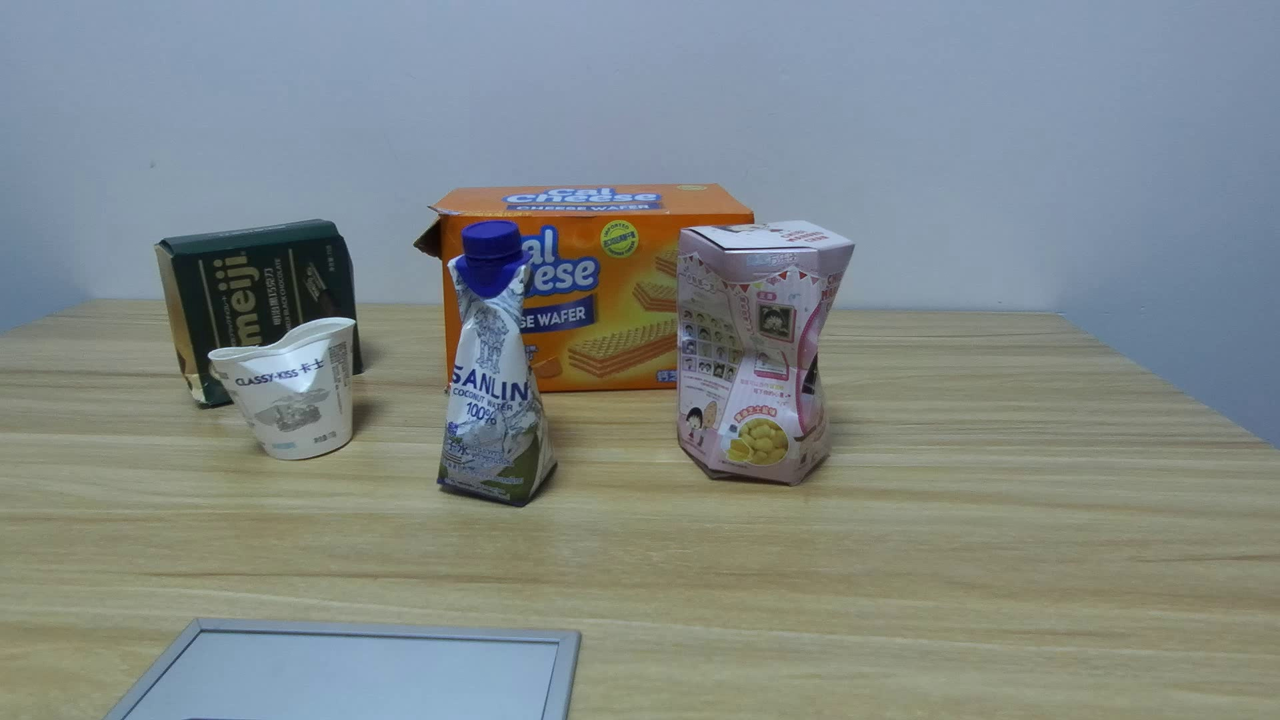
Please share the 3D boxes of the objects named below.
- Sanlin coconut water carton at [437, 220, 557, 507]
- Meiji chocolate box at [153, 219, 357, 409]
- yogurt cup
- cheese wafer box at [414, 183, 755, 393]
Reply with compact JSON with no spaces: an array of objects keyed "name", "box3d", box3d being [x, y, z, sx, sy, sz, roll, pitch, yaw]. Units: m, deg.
[{"name":"Sanlin coconut water carton","box3d":[-0.069,0.000,0.382,0.056,0.144,0.068,11,14,12]},{"name":"Meiji chocolate box","box3d":[-0.267,-0.037,0.505,0.123,0.116,0.058,-16,28,-36]},{"name":"yogurt cup","box3d":[-0.206,0.017,0.423,0.053,0.071,0.075,4,23,10]},{"name":"cheese wafer box","box3d":[-0.037,-0.064,0.548,0.227,0.137,0.149,-2,21,-5]}]
